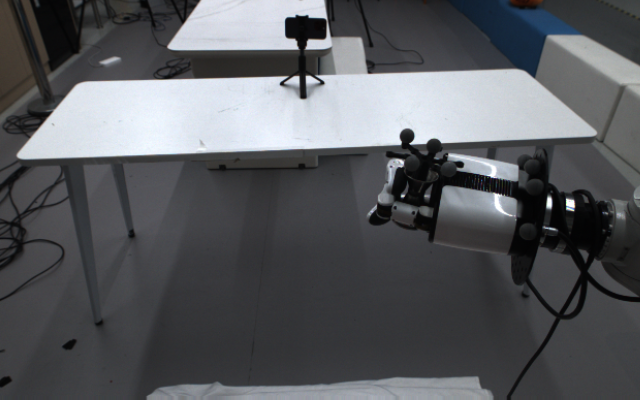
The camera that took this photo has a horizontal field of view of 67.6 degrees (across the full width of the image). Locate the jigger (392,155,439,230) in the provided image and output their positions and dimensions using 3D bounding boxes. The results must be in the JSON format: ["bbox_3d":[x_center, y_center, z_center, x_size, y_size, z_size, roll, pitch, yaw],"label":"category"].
[{"bbox_3d":[0.115,-0.003,0.584,0.043,0.071,0.043,7,32,-4],"label":"jigger"}]
